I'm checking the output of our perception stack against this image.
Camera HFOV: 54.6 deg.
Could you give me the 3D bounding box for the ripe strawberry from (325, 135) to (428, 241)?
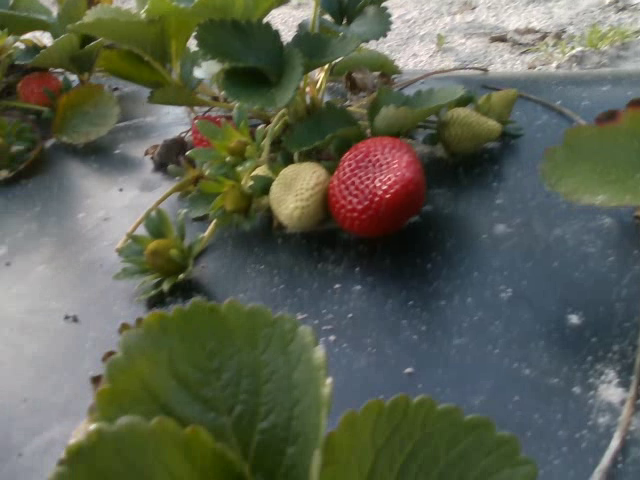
[{"bbox_3d":[0.025,-0.023,0.257,0.048,0.051,0.055,33,2,-8],"label":"ripe strawberry"}]
